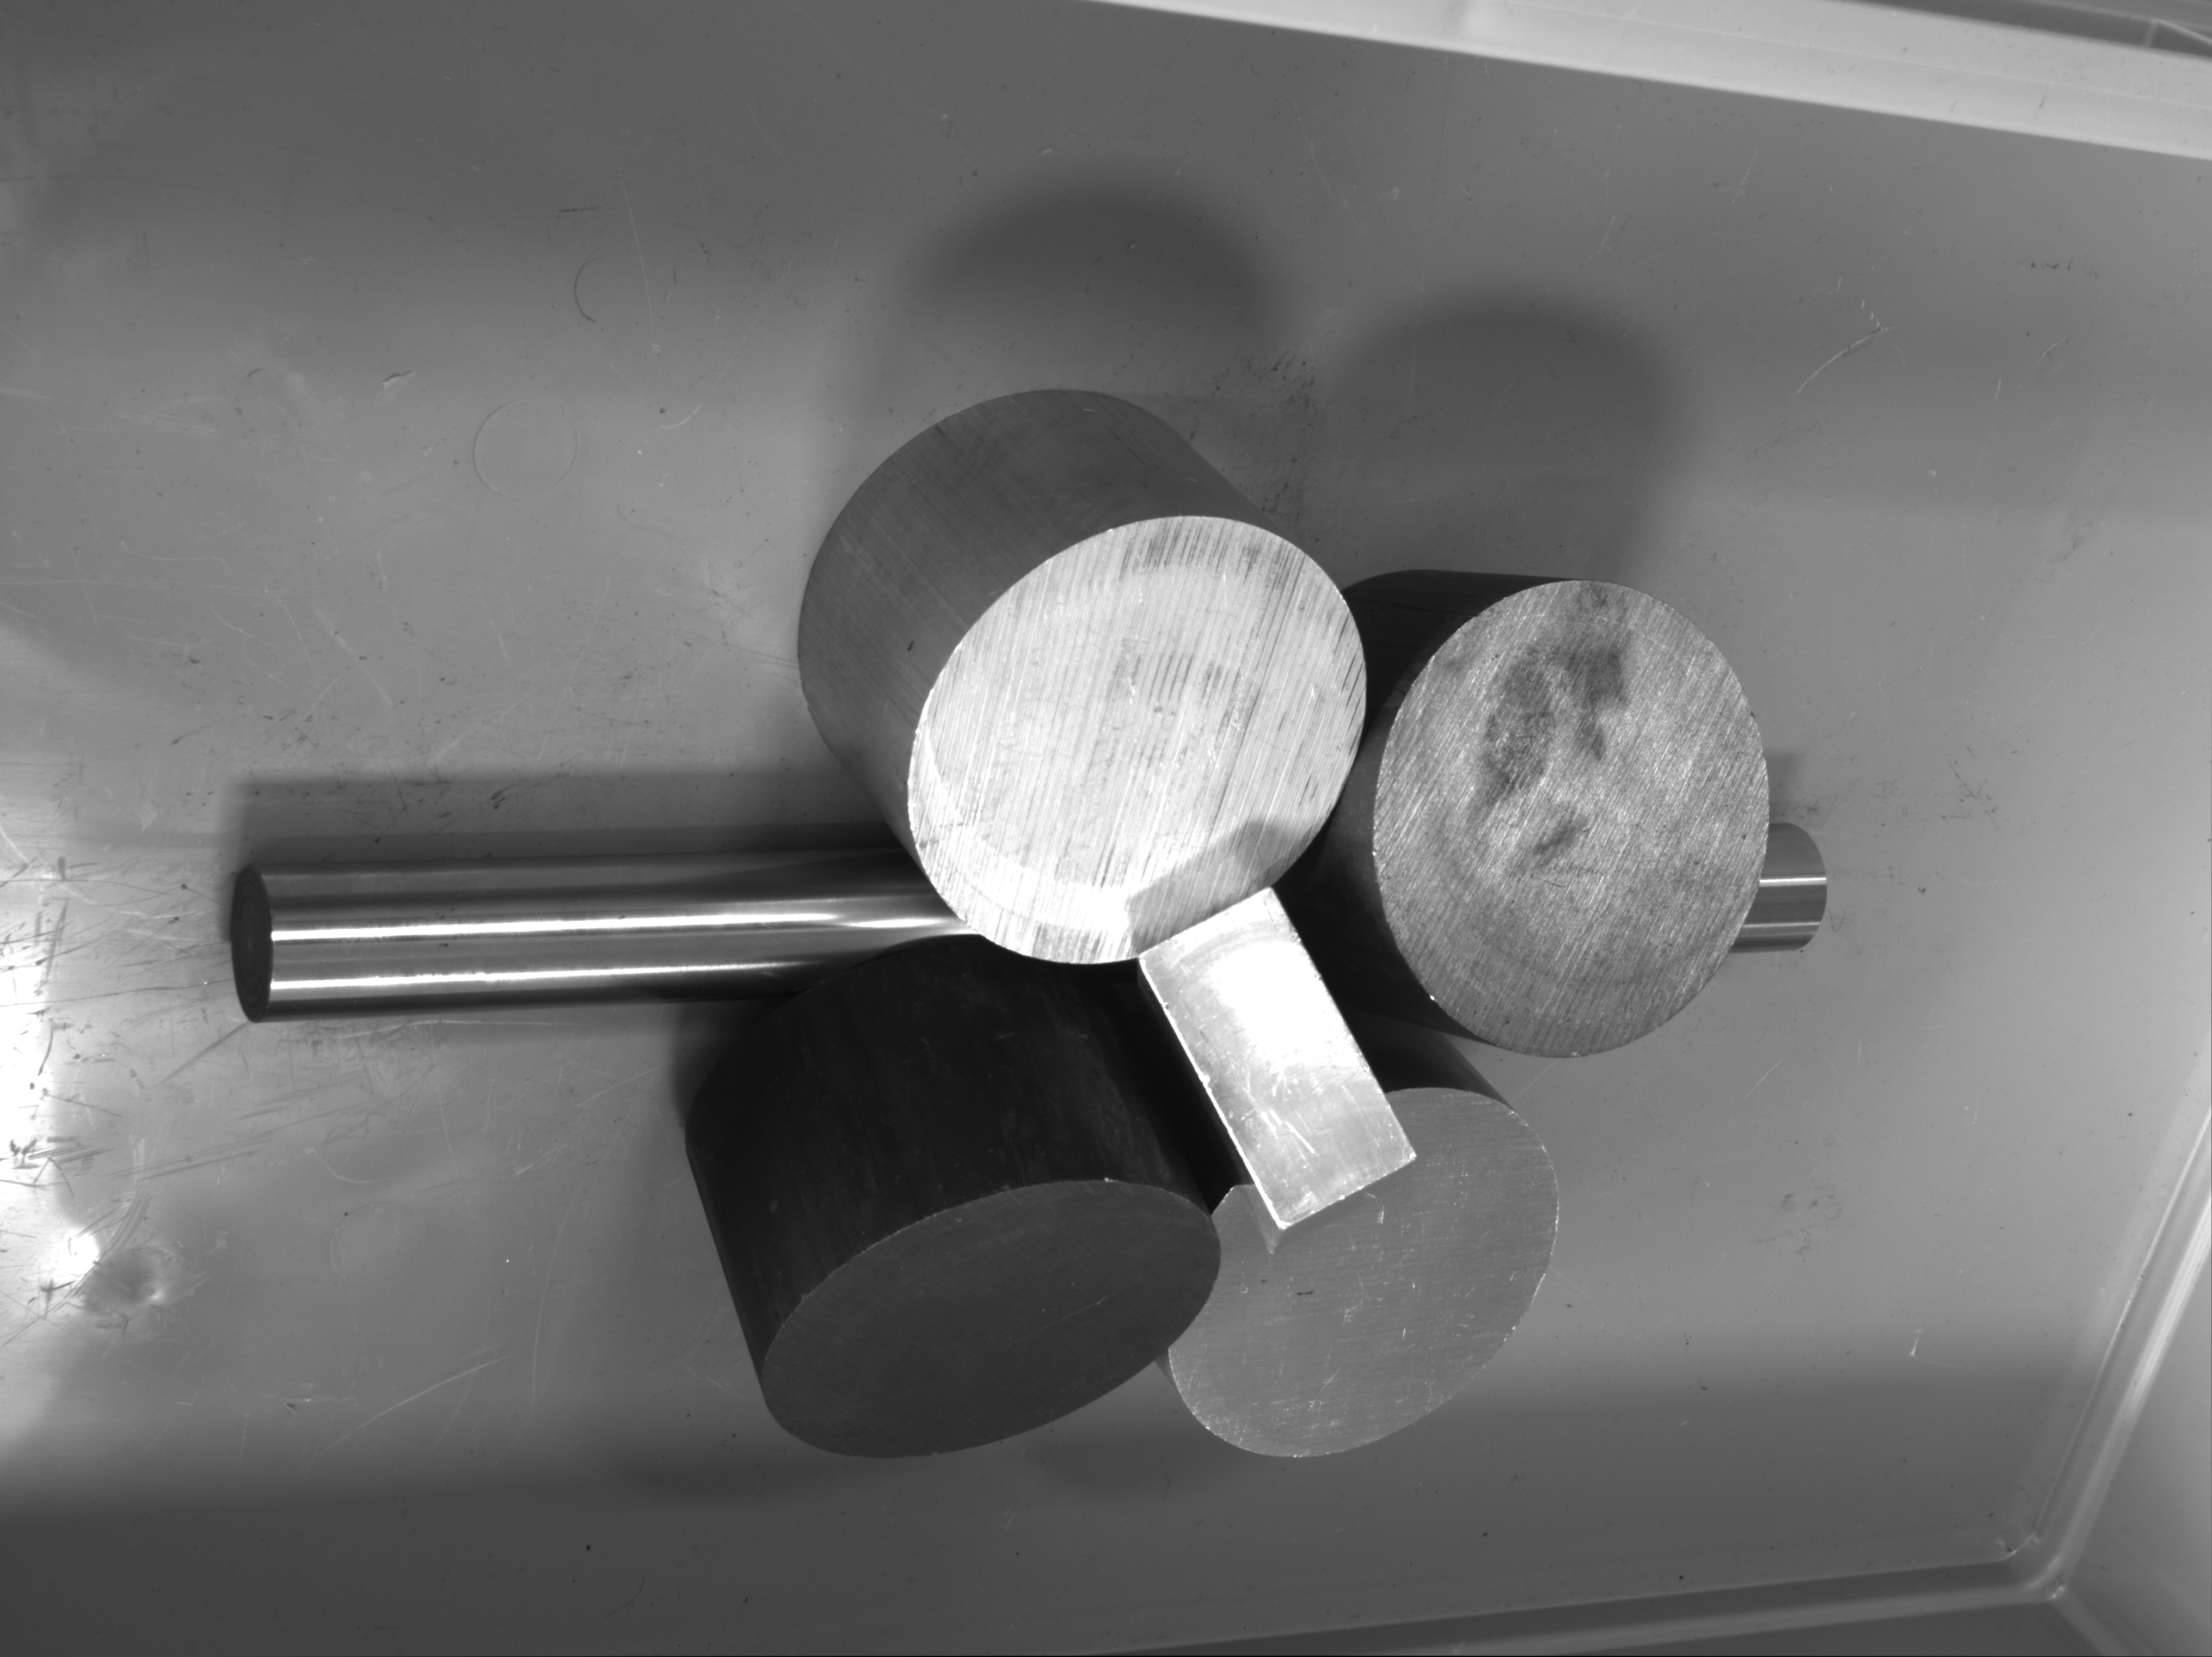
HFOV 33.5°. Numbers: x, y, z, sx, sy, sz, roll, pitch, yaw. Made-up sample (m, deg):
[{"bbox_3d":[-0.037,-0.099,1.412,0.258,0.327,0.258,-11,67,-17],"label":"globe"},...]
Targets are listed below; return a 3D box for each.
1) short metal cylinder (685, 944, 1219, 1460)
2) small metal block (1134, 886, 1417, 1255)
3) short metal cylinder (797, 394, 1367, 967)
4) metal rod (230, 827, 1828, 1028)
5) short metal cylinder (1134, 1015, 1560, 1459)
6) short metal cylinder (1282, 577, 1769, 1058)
[{"bbox_3d":[-0.027,0.065,0.629,0.080,0.050,0.080,-15,144,-11],"label":"short metal cylinder"},{"bbox_3d":[0.028,0.041,0.614,0.025,0.050,0.050,-27,170,-4],"label":"small metal block"},{"bbox_3d":[-0.004,-0.024,0.603,0.080,0.050,0.080,-13,124,-21],"label":"short metal cylinder"},{"bbox_3d":[-0.001,0.015,0.644,0.301,0.025,0.025,-1,119,-28],"label":"metal rod"},{"bbox_3d":[0.037,0.069,0.682,0.080,0.050,0.080,-13,124,-21],"label":"short metal cylinder"},{"bbox_3d":[0.068,-0.003,0.637,0.080,0.050,0.080,-3,96,-27],"label":"short metal cylinder"}]
